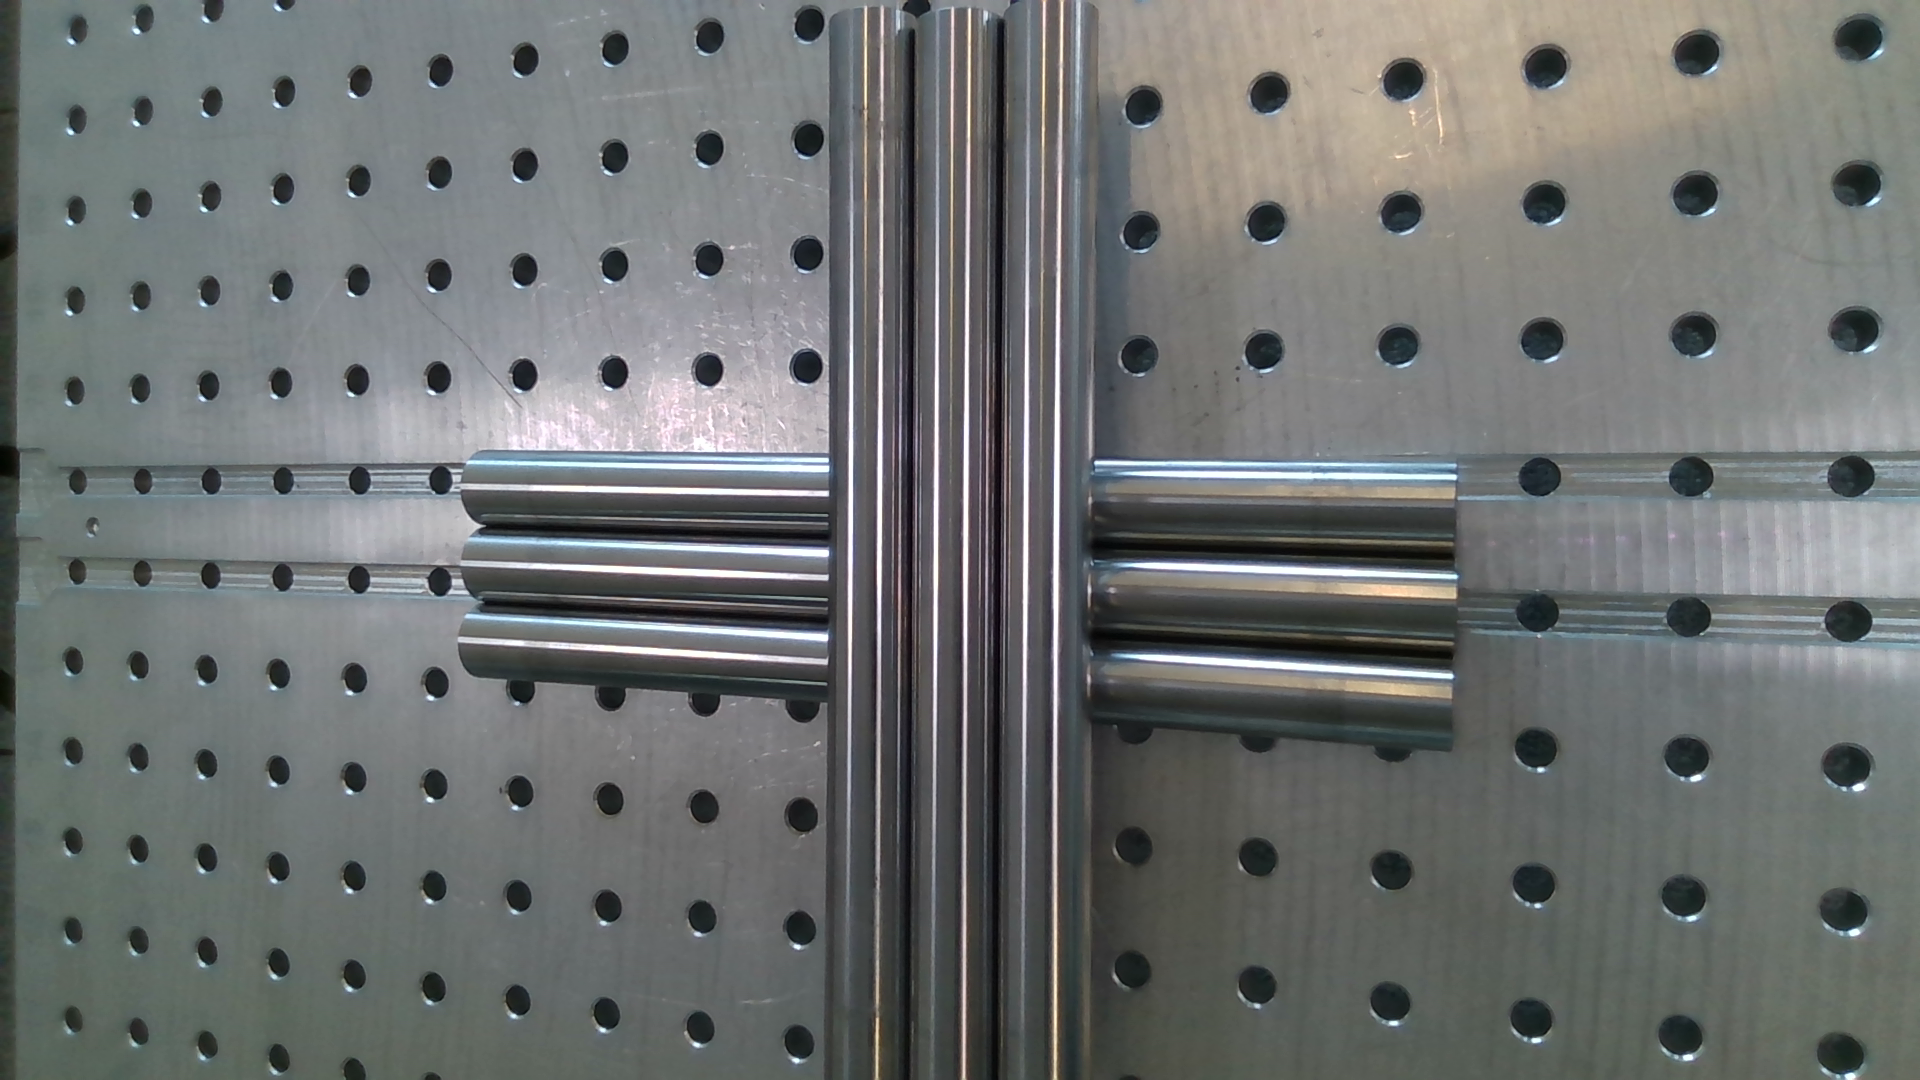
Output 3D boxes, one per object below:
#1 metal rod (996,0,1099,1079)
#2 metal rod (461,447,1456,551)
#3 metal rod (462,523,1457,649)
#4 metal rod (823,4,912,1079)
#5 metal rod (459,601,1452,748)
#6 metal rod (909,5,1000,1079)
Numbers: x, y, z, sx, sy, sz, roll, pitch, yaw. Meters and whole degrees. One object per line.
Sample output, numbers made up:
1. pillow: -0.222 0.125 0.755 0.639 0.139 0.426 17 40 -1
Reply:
1. metal rod: 0.023 0.012 0.361 0.025 0.025 0.300 1 91 20
2. metal rod: -0.015 -0.014 0.402 0.300 0.025 0.025 2 91 20
3. metal rod: -0.015 0.011 0.402 0.300 0.025 0.025 2 91 20
4. metal rod: -0.024 0.008 0.379 0.025 0.025 0.300 1 91 20
5. metal rod: -0.016 0.036 0.402 0.300 0.025 0.025 2 91 20
6. metal rod: -0.001 0.011 0.370 0.025 0.025 0.300 1 91 20
